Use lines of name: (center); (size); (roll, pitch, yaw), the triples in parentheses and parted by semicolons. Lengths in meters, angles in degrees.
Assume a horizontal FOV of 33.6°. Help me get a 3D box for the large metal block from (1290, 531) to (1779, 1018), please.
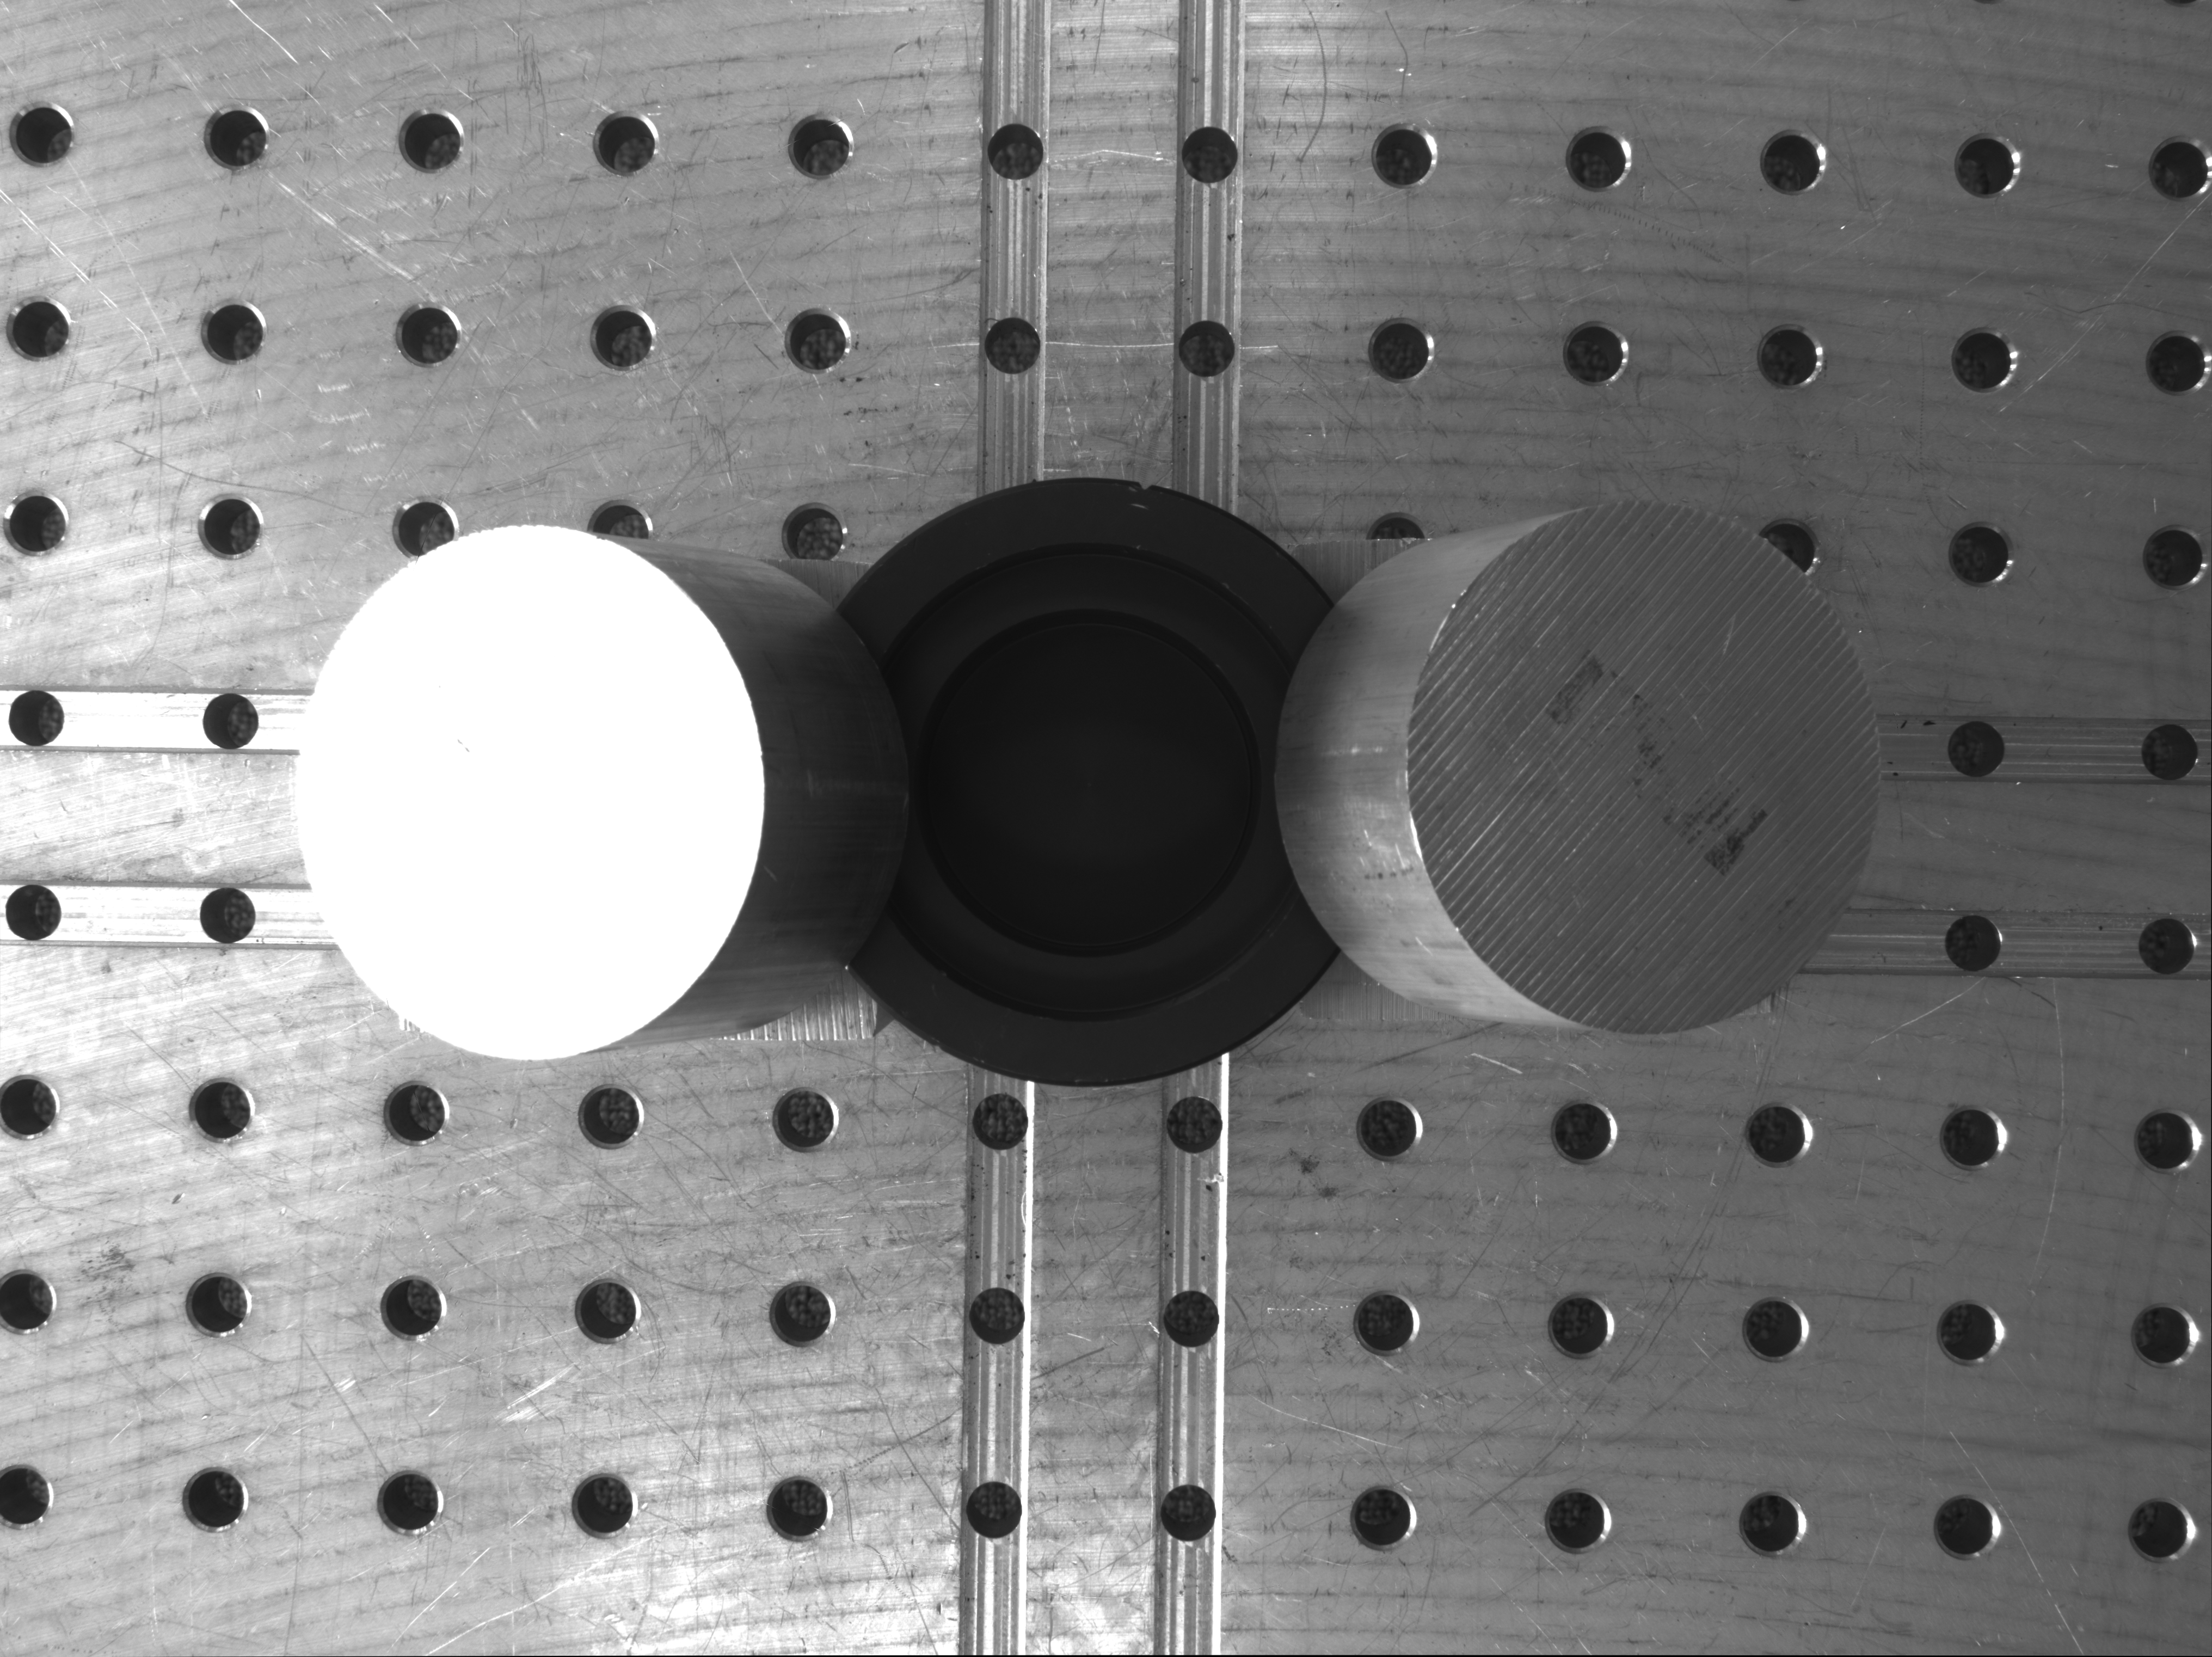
large metal block: (0.072, -0.009, 0.635); (0.080, 0.050, 0.080); (-1, 90, 0)

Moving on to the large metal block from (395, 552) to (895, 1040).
large metal block: (-0.078, -0.005, 0.635); (0.080, 0.050, 0.080); (1, 90, 0)

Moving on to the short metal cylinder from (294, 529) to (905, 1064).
short metal cylinder: (-0.078, -0.005, 0.572); (0.080, 0.050, 0.080); (0, 91, 21)

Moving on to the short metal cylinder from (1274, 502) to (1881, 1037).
short metal cylinder: (0.073, -0.009, 0.572); (0.080, 0.050, 0.080); (0, 89, -20)

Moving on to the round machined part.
round machined part: (-0.003, -0.007, 0.610); (0.098, 0.042, 0.098); (0, 90, 0)
